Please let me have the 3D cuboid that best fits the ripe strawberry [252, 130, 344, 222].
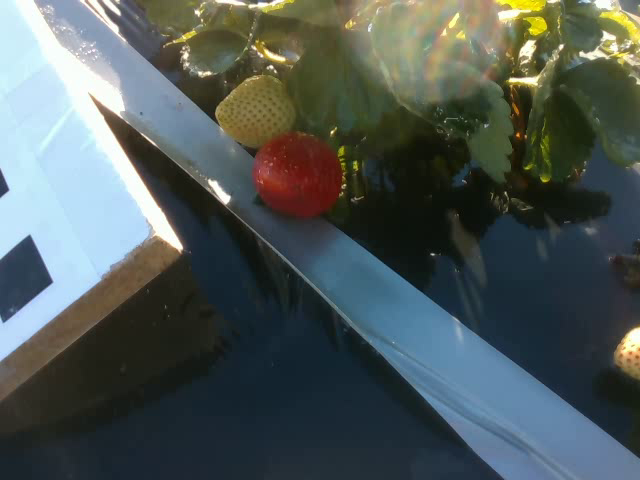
[{"bbox_3d":[-0.013,-0.030,0.265,0.045,0.049,0.063,-17,5,14],"label":"ripe strawberry"}]
